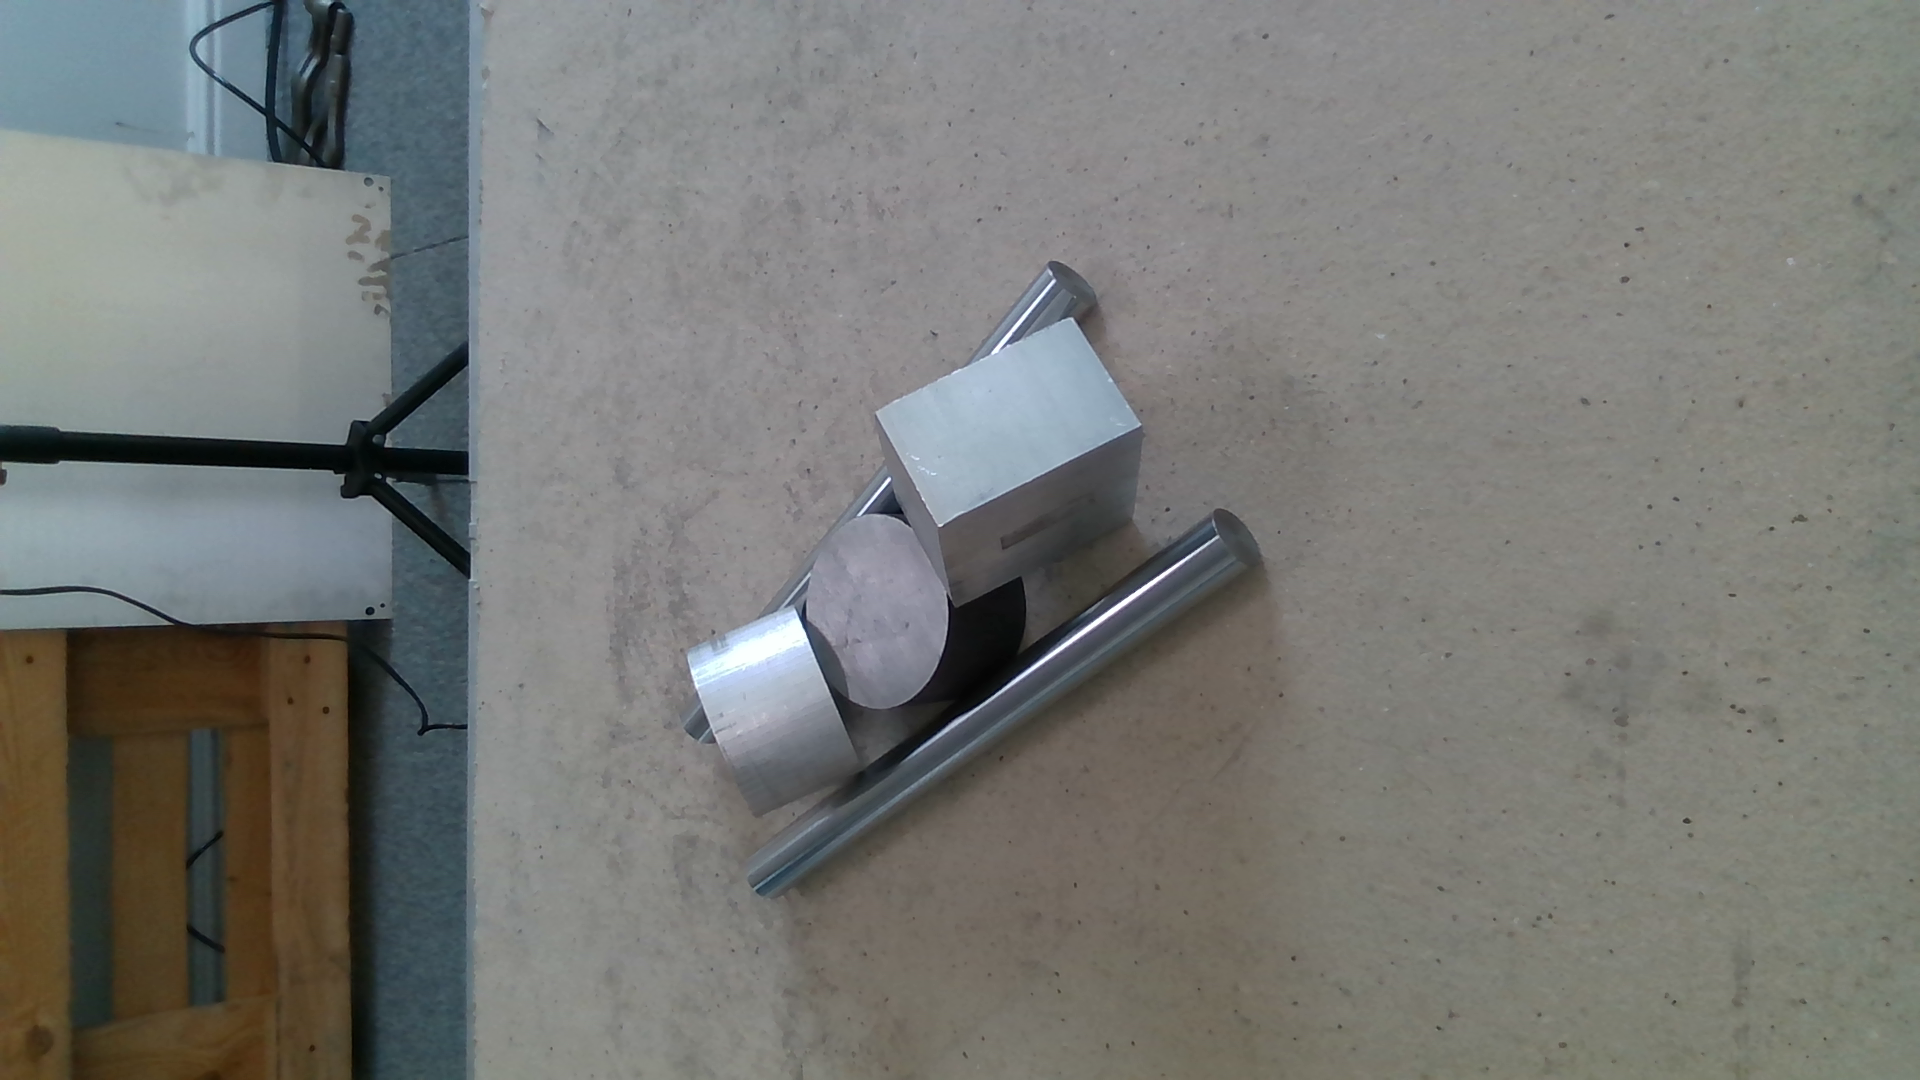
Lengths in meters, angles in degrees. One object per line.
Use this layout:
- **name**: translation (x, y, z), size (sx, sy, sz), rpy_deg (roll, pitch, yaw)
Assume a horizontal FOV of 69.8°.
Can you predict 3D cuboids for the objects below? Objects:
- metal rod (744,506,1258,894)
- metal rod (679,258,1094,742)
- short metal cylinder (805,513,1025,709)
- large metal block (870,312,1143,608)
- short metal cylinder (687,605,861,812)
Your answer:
- **metal rod**: translation (0.003, 0.078, 0.580), size (0.301, 0.025, 0.025), rpy_deg (-40, 66, 33)
- **metal rod**: translation (-0.043, -0.006, 0.618), size (0.301, 0.025, 0.025), rpy_deg (-48, 61, 30)
- **short metal cylinder**: translation (-0.020, 0.029, 0.583), size (0.080, 0.050, 0.080), rpy_deg (0, 91, 40)
- **large metal block**: translation (0.018, -0.027, 0.510), size (0.080, 0.080, 0.050), rpy_deg (-27, 68, -7)
- **short metal cylinder**: translation (-0.081, 0.074, 0.608), size (0.050, 0.080, 0.080), rpy_deg (-23, 70, -6)
